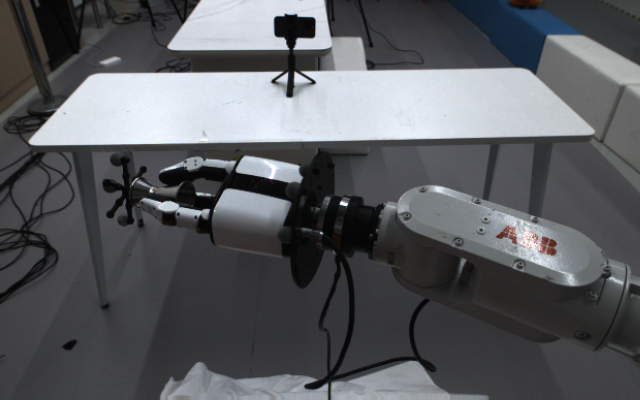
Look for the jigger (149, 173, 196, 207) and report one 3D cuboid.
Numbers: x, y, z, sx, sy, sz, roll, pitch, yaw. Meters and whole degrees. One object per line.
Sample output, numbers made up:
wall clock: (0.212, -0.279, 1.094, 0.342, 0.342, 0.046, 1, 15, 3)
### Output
jigger: (-0.190, -0.008, 0.605, 0.071, 0.043, 0.043, 6, 35, 14)
